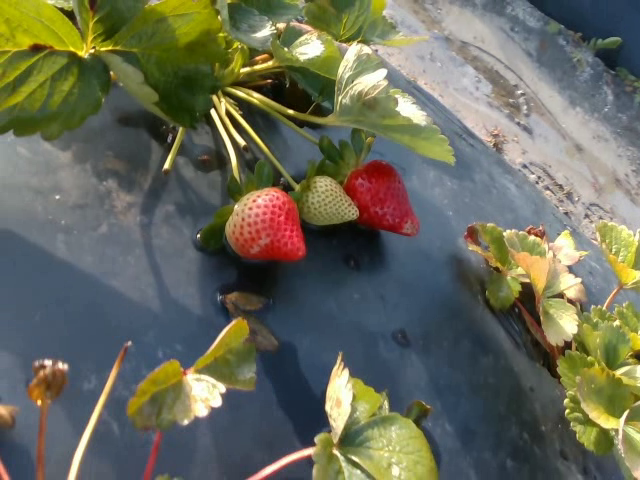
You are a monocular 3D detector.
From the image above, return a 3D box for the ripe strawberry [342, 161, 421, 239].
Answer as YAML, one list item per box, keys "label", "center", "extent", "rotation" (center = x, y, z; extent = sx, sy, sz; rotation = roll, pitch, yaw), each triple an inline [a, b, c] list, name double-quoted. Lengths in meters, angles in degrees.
- label: "ripe strawberry"
  center: [0.041, -0.023, 0.389]
  extent: [0.048, 0.065, 0.050]
  rotation: [-37, -4, -5]
